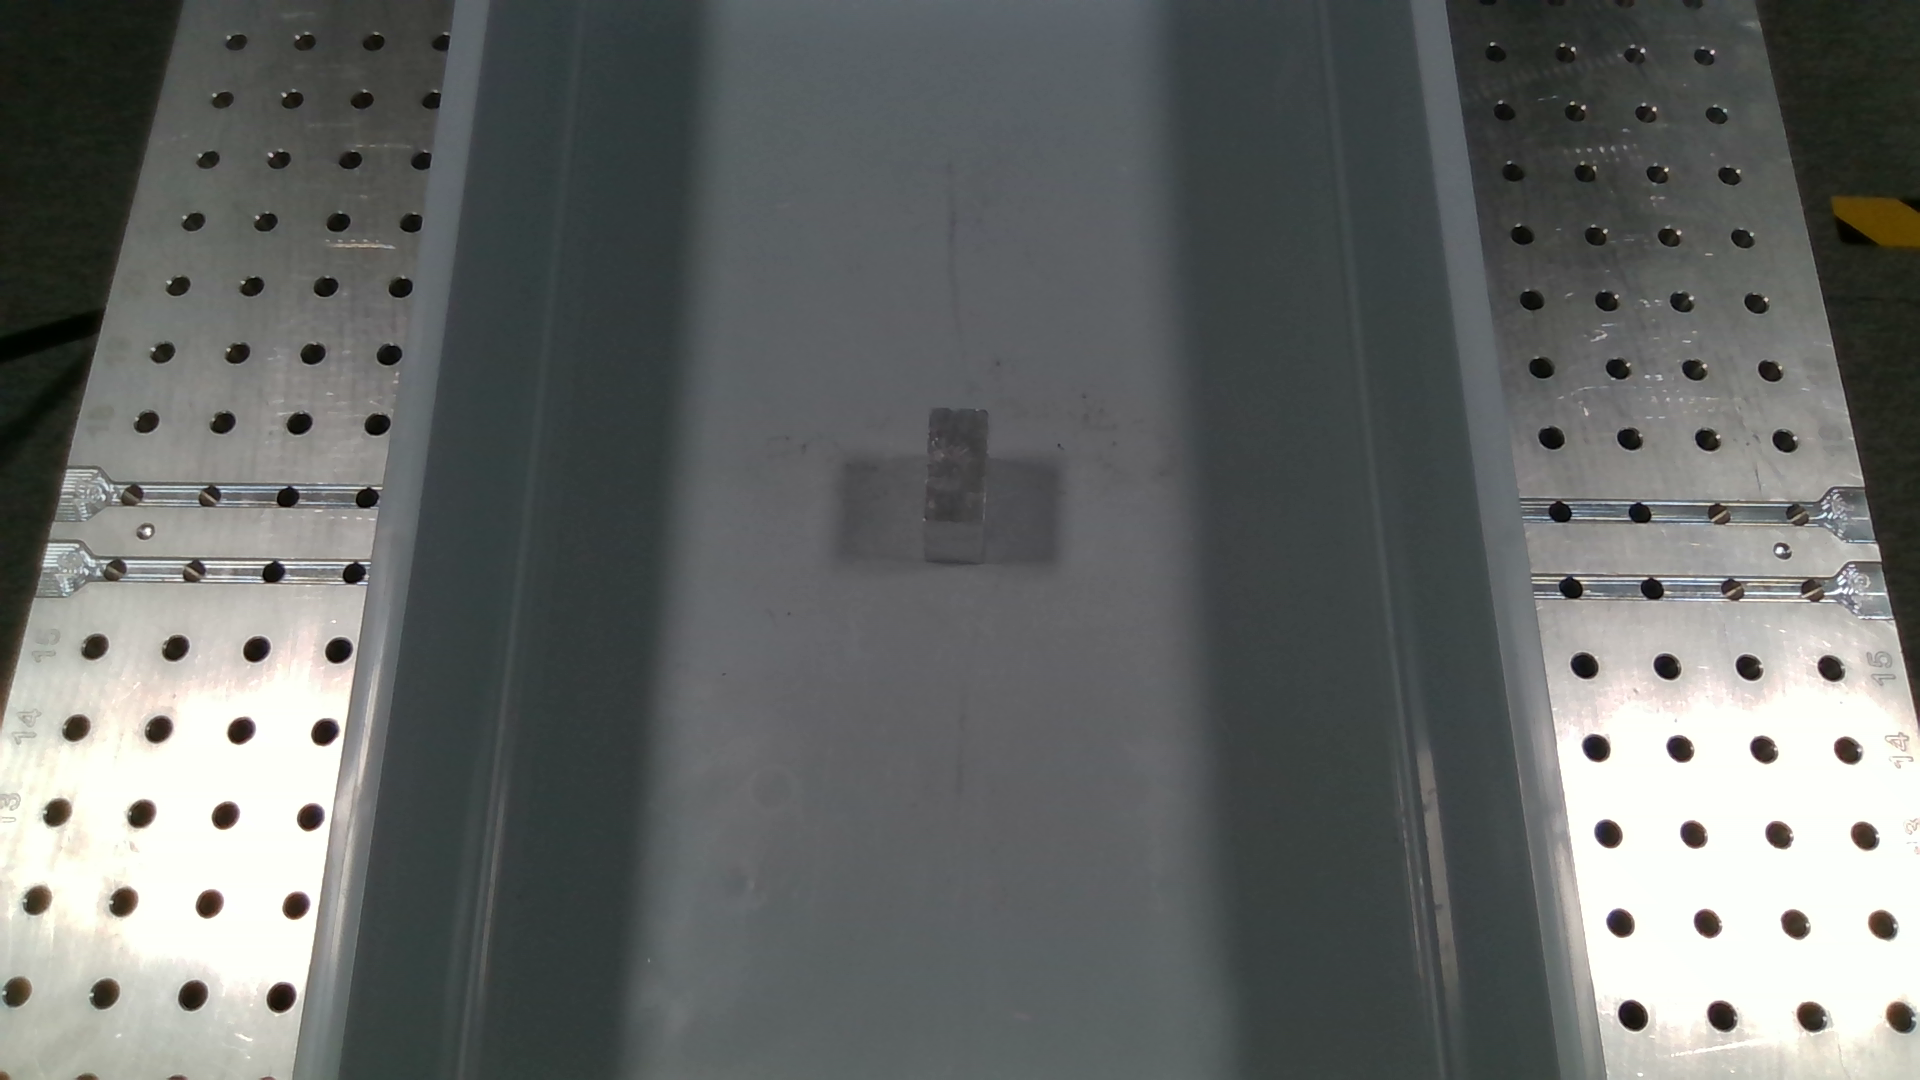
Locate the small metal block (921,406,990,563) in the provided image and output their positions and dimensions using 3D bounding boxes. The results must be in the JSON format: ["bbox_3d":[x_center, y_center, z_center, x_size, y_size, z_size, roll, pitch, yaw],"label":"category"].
[{"bbox_3d":[-0.002,-0.022,0.580,0.025,0.050,0.050,3,70,1],"label":"small metal block"}]
